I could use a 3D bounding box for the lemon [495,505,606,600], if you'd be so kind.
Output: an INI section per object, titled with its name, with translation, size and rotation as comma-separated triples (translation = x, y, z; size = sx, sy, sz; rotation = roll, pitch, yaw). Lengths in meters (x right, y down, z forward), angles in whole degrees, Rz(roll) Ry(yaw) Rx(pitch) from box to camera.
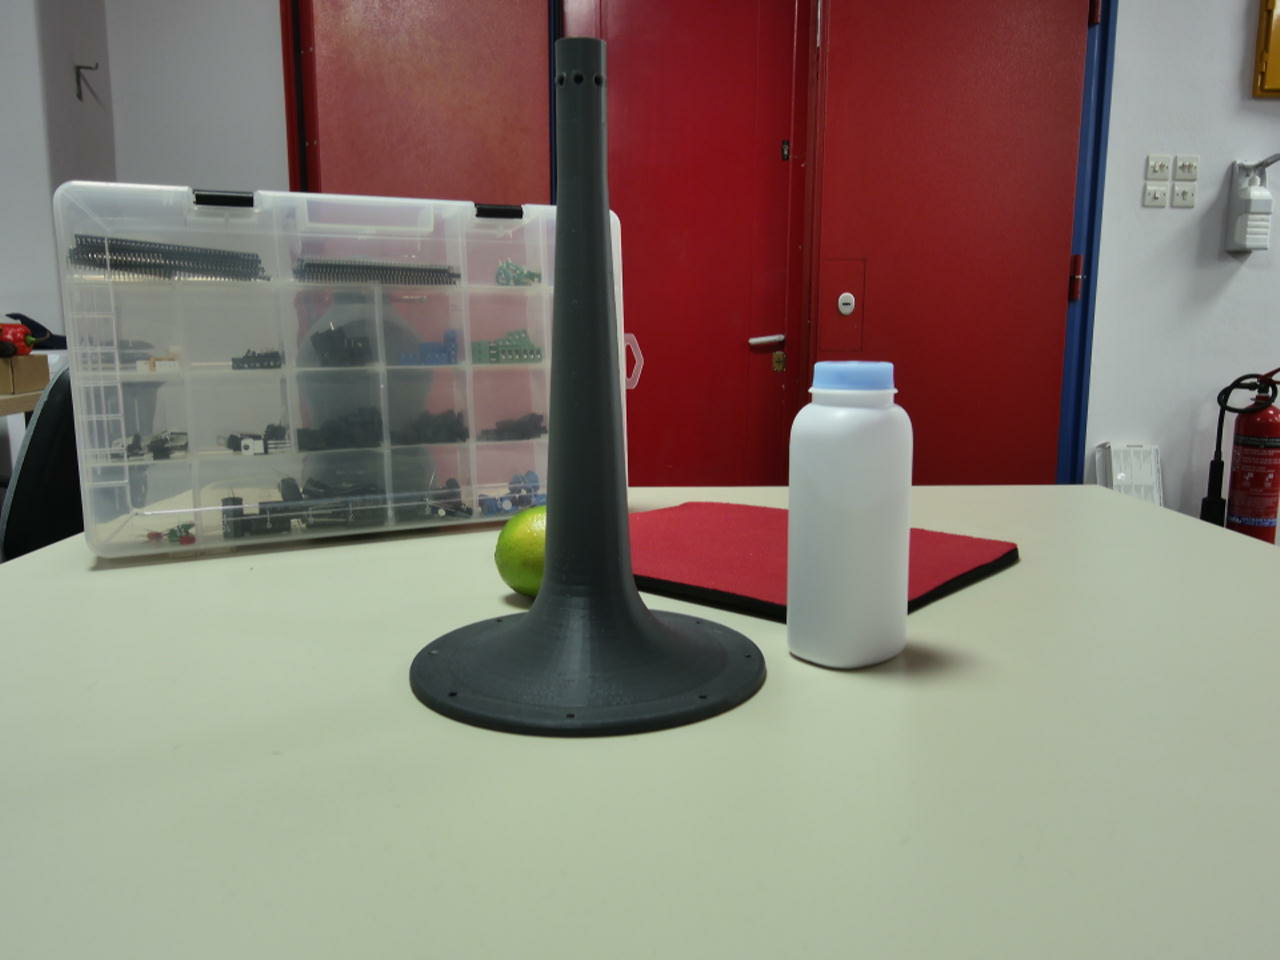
[lemon]
translation = -0.049, 0.039, 0.539
size = 0.054, 0.050, 0.055
rotation = -7, 9, -40
